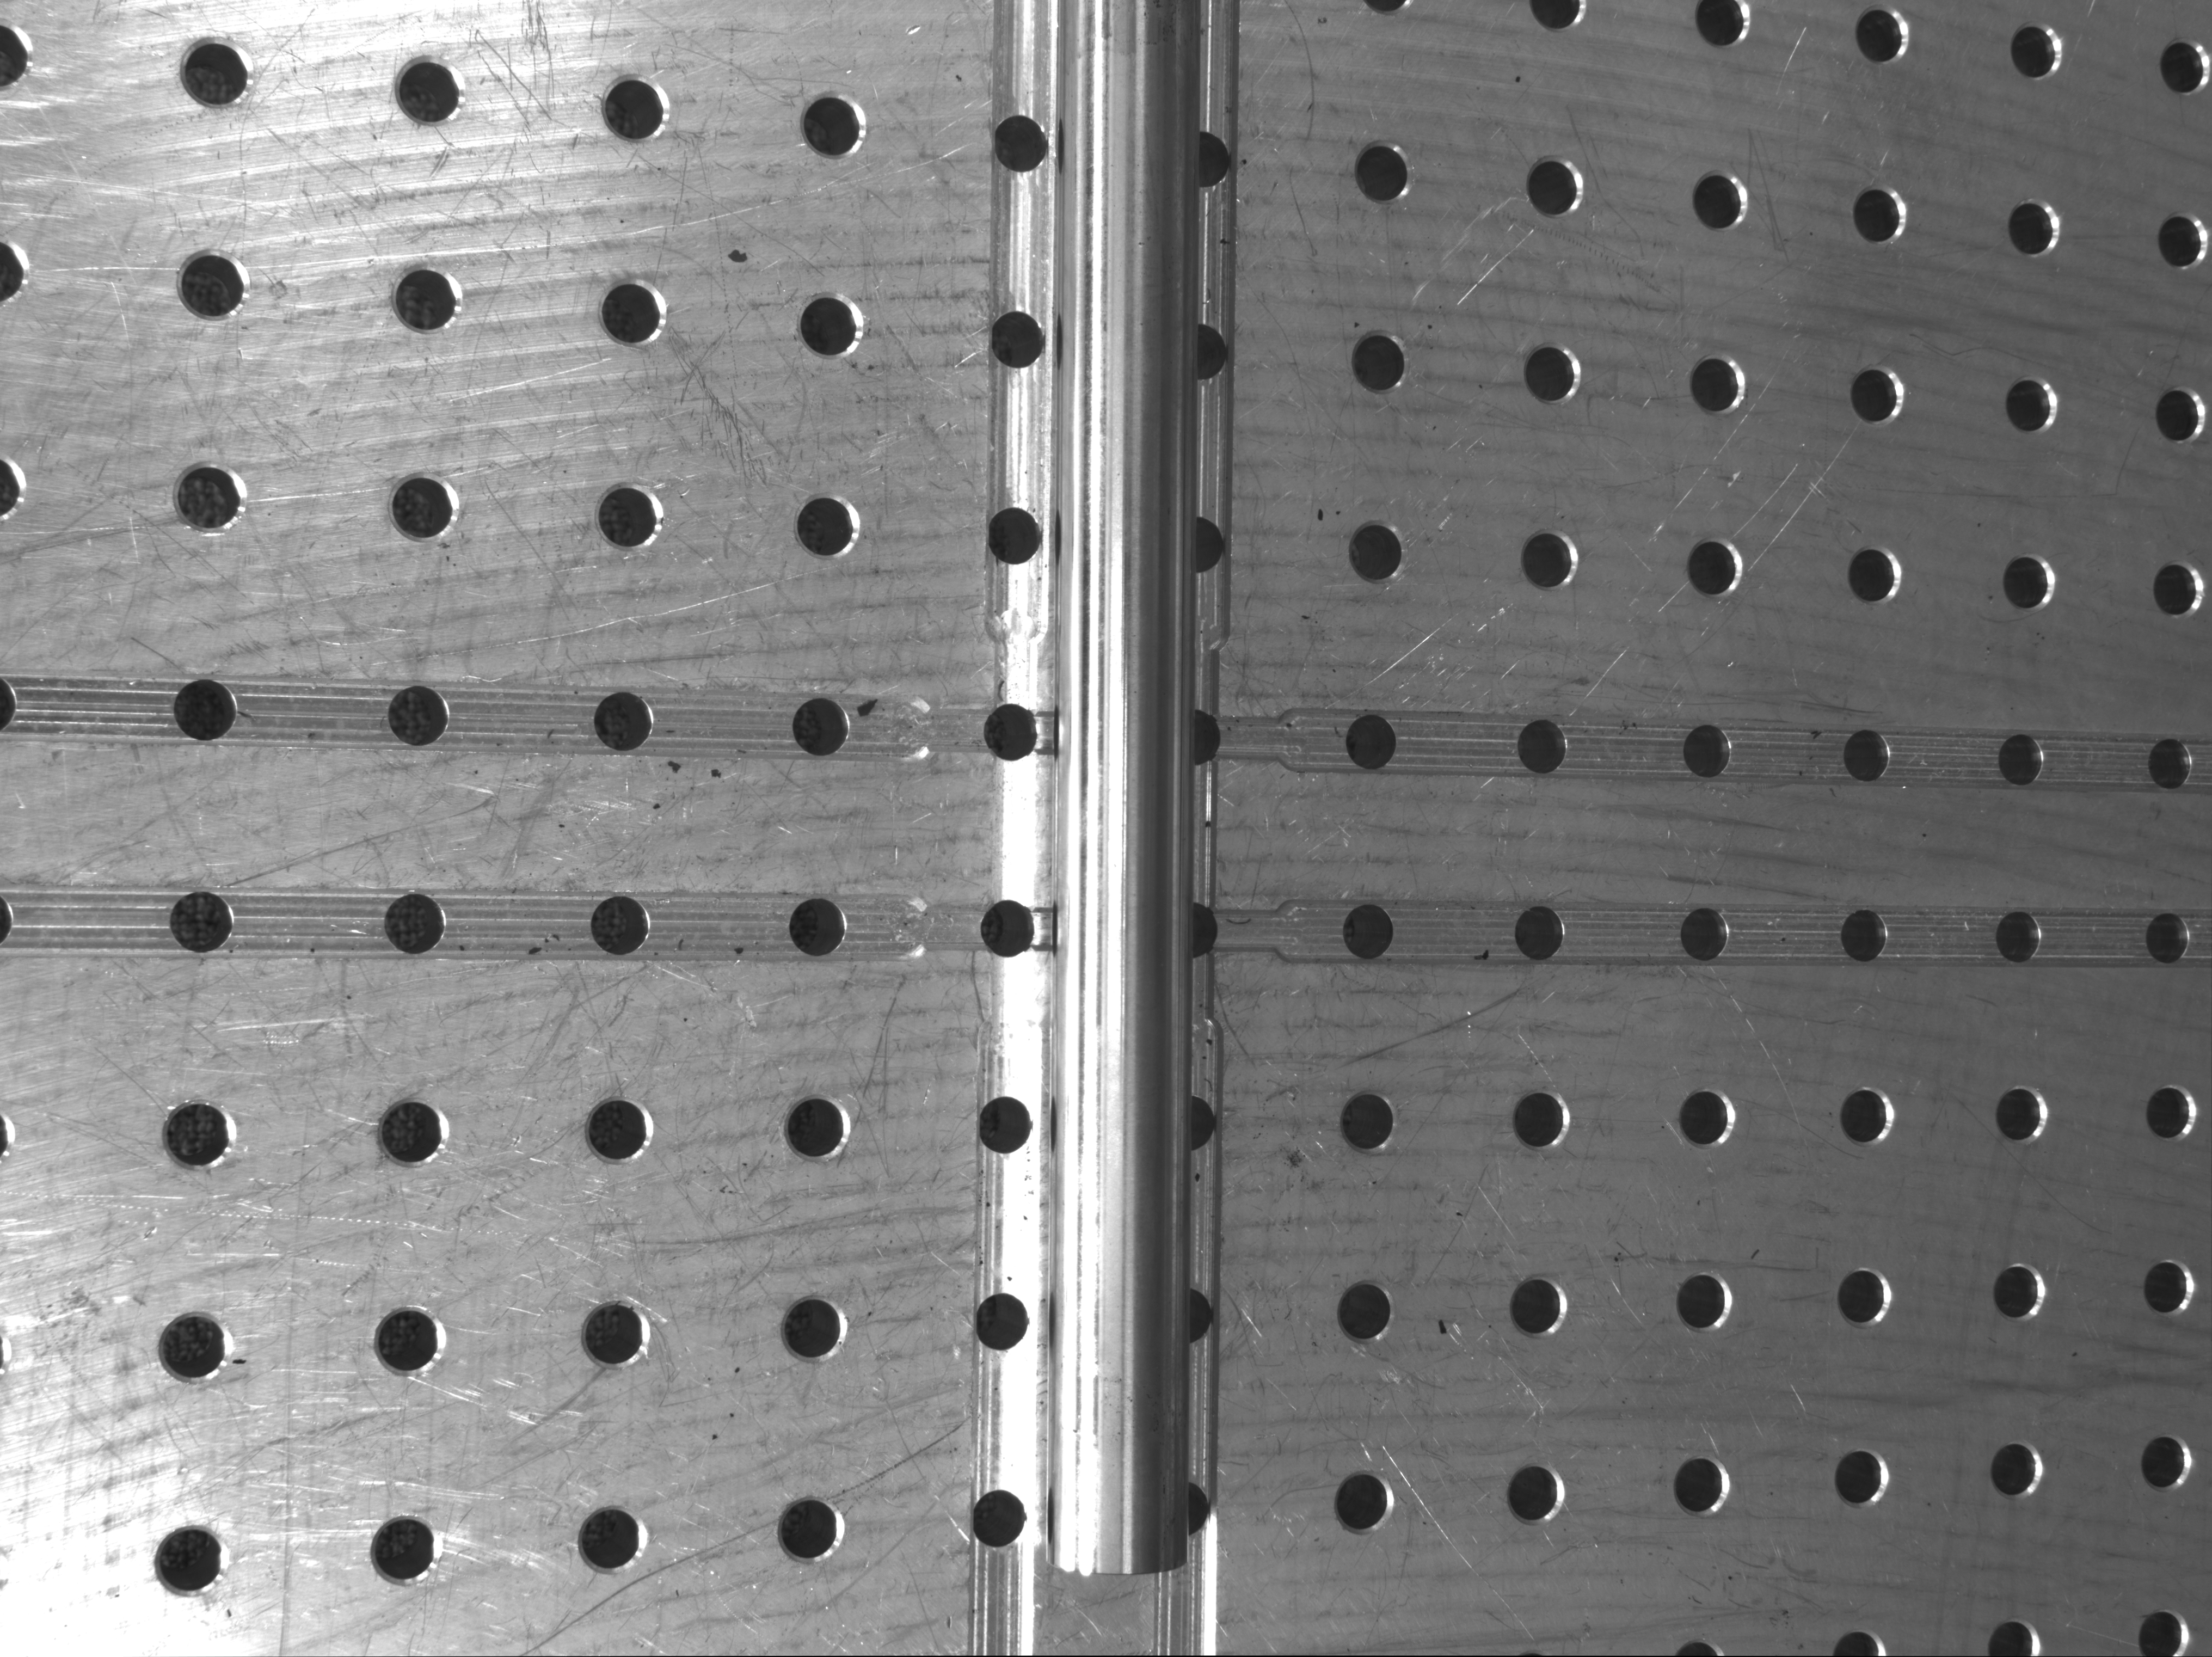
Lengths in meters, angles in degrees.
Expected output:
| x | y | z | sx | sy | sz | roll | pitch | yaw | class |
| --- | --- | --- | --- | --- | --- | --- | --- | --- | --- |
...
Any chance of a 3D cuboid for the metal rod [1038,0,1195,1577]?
| x | y | z | sx | sy | sz | roll | pitch | yaw | class |
| --- | --- | --- | --- | --- | --- | --- | --- | --- | --- |
| 0.002 | -0.021 | 0.647 | 0.025 | 0.025 | 0.300 | 1 | 90 | -20 | metal rod |
